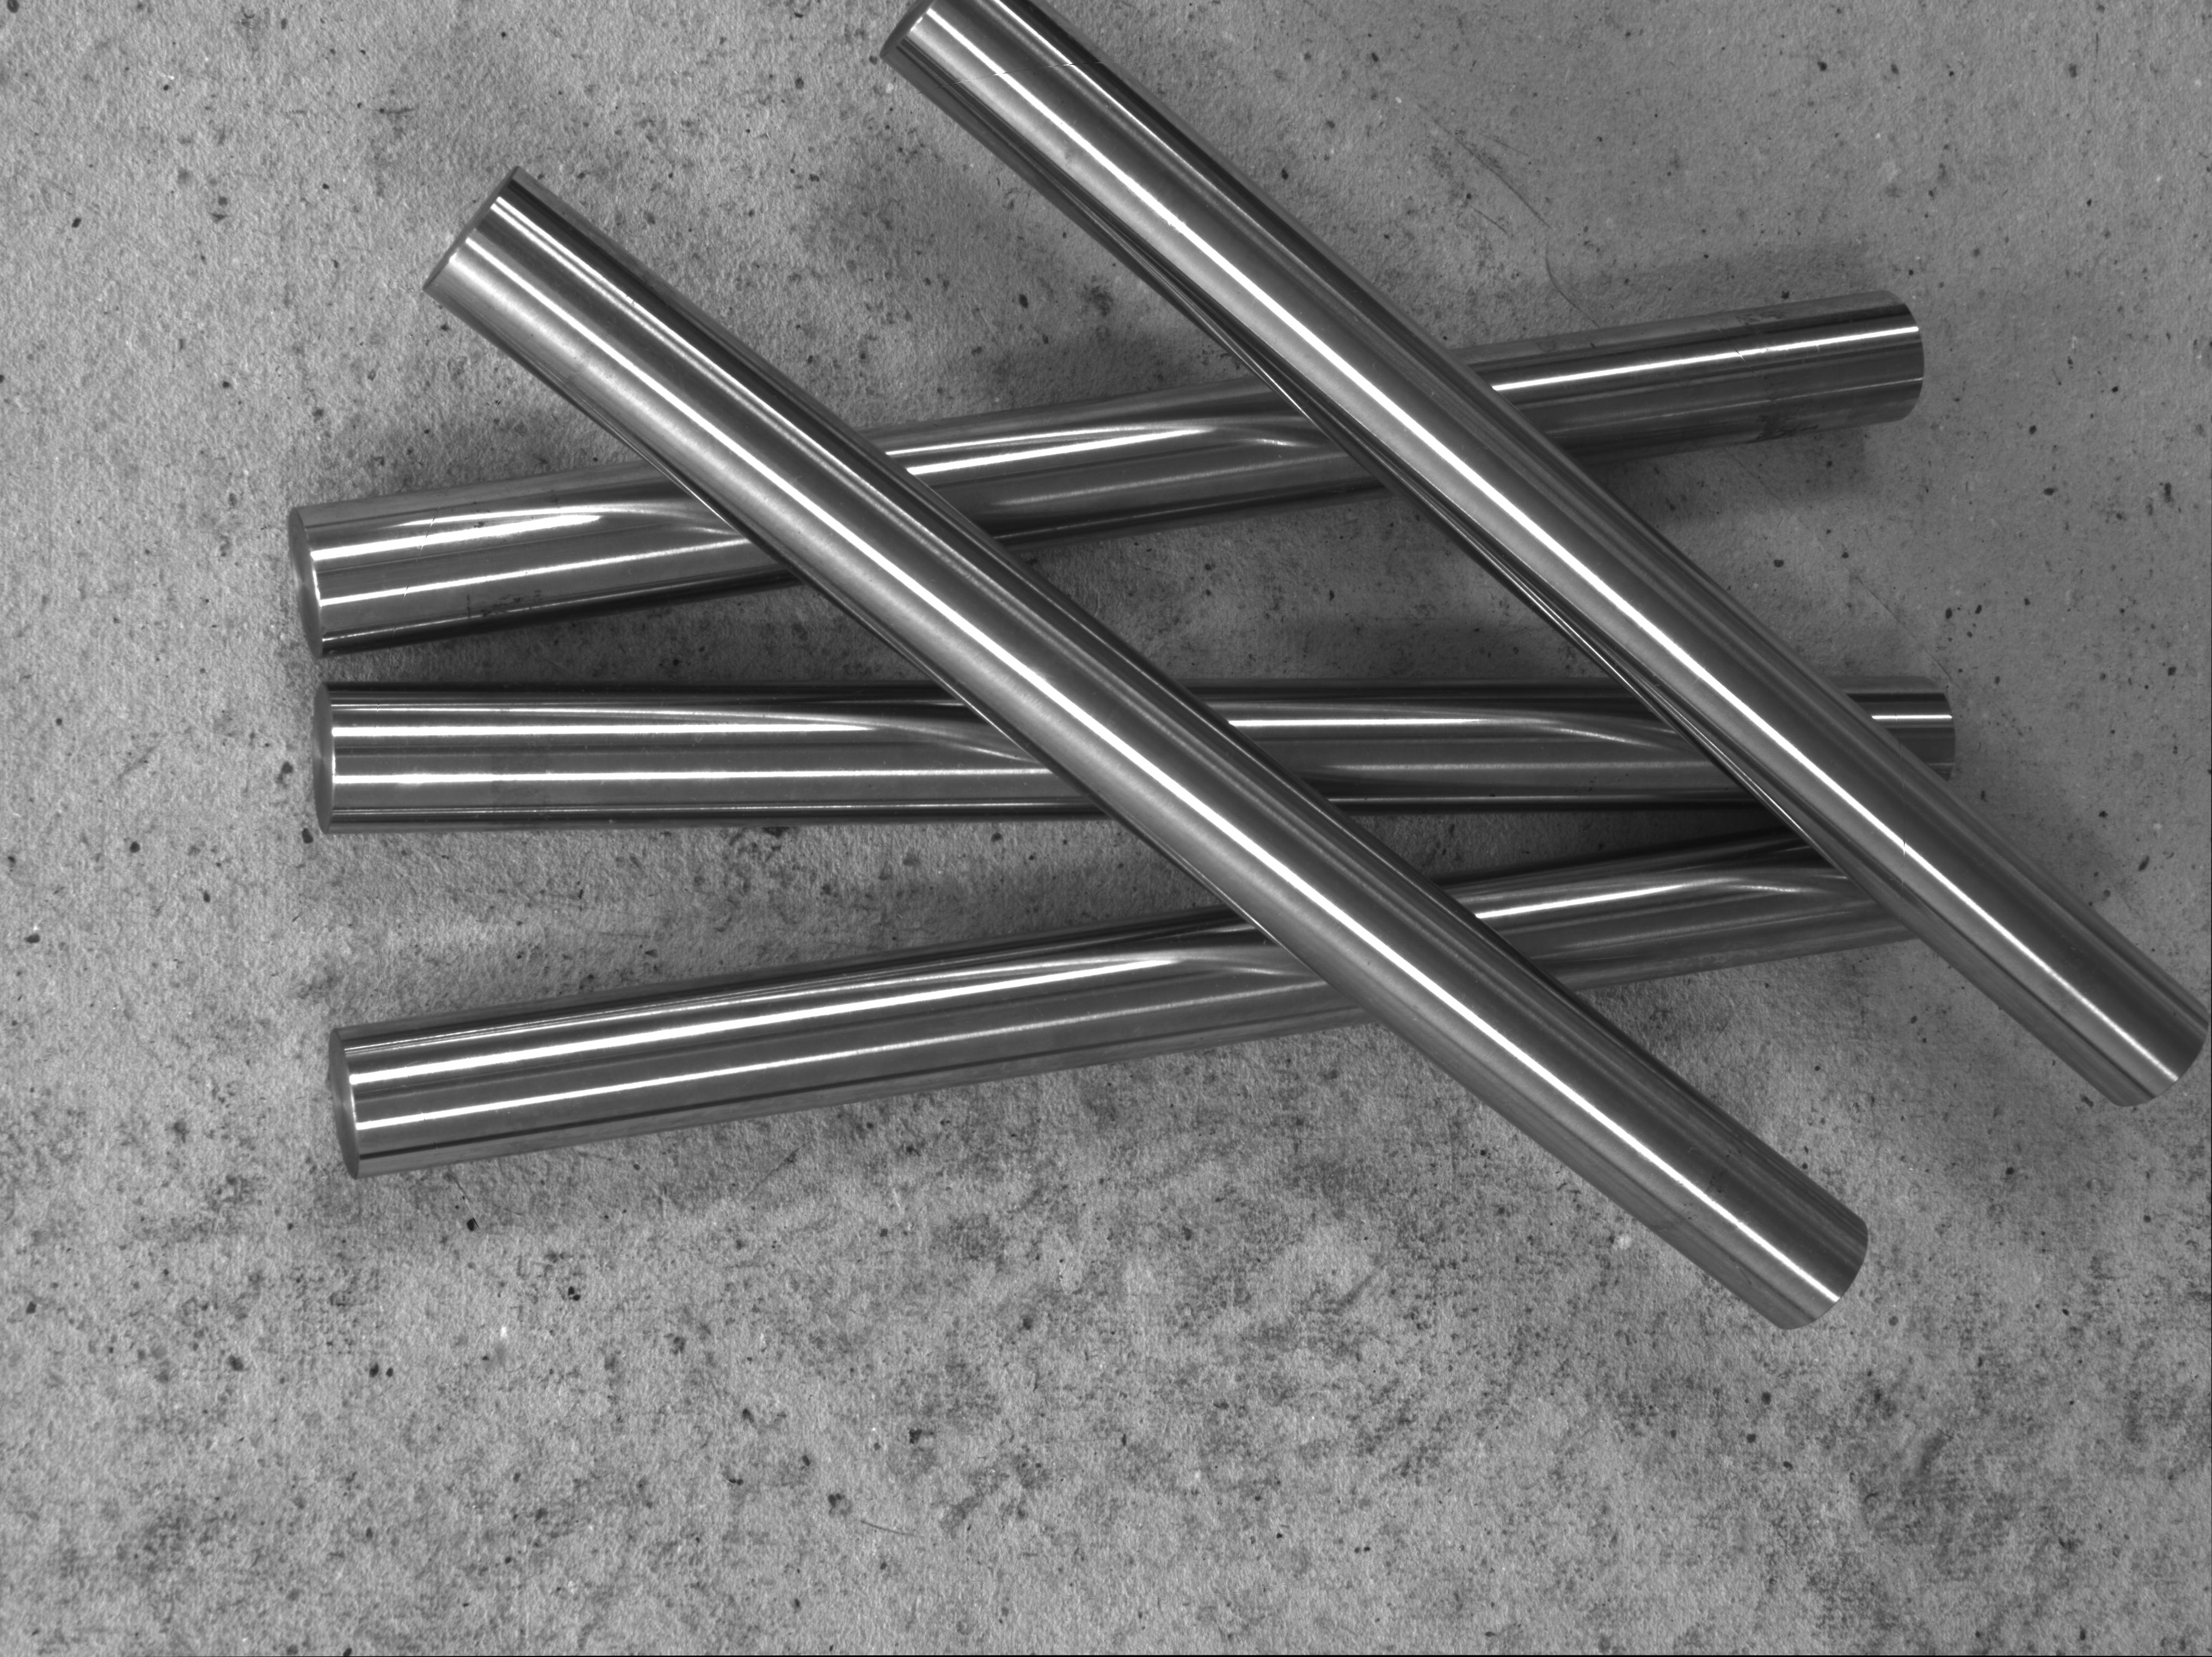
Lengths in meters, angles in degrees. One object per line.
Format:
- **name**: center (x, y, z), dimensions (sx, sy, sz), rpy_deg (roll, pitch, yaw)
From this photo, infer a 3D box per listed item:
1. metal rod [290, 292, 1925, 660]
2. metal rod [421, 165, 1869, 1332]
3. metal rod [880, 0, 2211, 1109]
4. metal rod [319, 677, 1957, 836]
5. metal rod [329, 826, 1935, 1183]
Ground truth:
- **metal rod**: center (0.009, -0.064, 0.646), dimensions (0.301, 0.025, 0.025), rpy_deg (-10, 93, -20)
- **metal rod**: center (0.014, -0.007, 0.622), dimensions (0.301, 0.025, 0.025), rpy_deg (37, 78, -16)
- **metal rod**: center (0.084, -0.047, 0.647), dimensions (0.301, 0.025, 0.025), rpy_deg (38, 78, -16)
- **metal rod**: center (0.014, -0.014, 0.648), dimensions (0.301, 0.025, 0.025), rpy_deg (-1, 90, -20)
- **metal rod**: center (0.016, 0.027, 0.649), dimensions (0.301, 0.025, 0.025), rpy_deg (-8, 92, -20)
